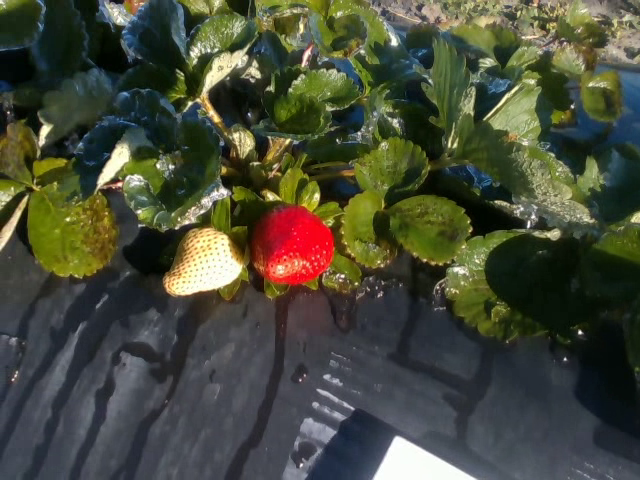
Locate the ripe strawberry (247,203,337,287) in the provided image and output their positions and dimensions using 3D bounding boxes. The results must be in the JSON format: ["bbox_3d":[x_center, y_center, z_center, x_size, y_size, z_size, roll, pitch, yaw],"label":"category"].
[{"bbox_3d":[-0.015,0.010,0.312,0.042,0.046,0.061,11,21,12],"label":"ripe strawberry"}]
